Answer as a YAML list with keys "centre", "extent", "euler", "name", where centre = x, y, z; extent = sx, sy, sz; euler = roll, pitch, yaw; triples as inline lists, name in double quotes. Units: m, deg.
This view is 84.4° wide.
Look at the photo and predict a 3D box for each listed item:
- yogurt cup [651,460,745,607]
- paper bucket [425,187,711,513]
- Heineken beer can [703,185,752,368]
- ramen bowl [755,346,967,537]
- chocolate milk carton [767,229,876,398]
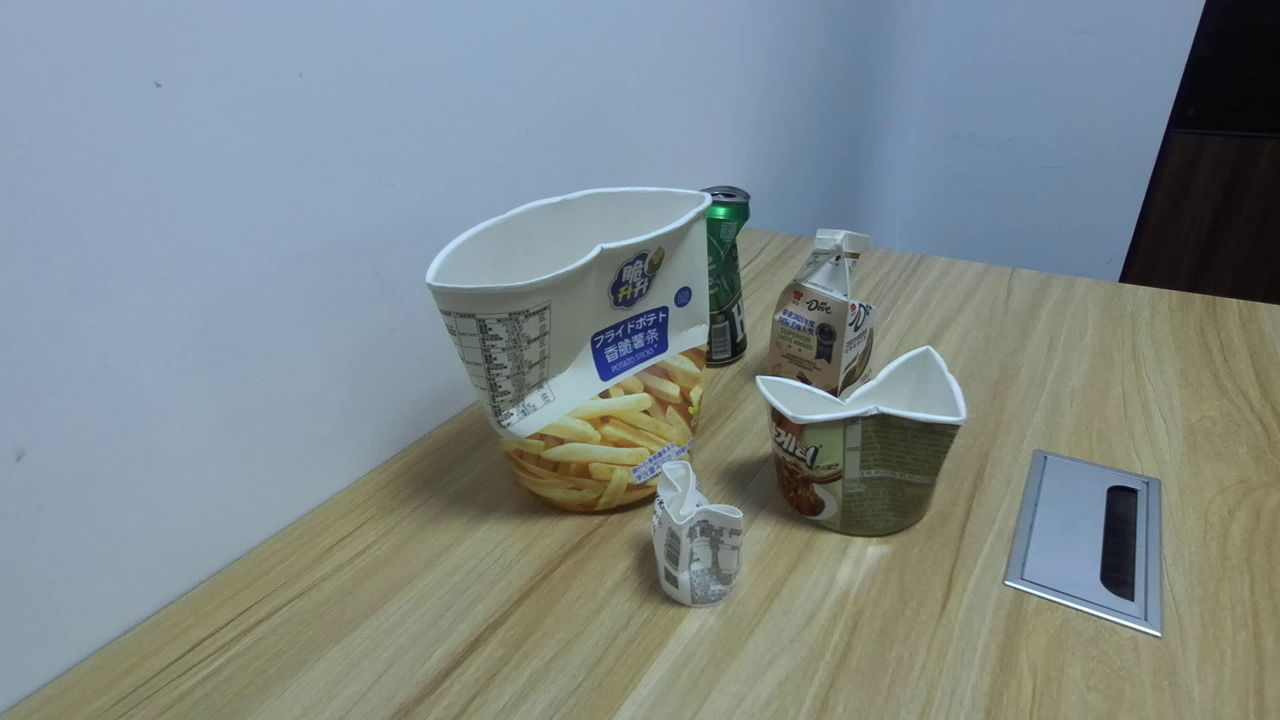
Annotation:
- centre: [0.034, 0.106, 0.431]
  extent: [0.055, 0.072, 0.055]
  euler: [-5, 31, 0]
  name: "yogurt cup"
- centre: [-0.030, -0.010, 0.521]
  extent: [0.147, 0.199, 0.218]
  euler: [5, 30, 14]
  name: "paper bucket"
- centre: [0.071, -0.076, 0.671]
  extent: [0.078, 0.164, 0.065]
  euler: [-16, 31, -26]
  name: "Heineken beer can"
- centre: [0.148, 0.052, 0.497]
  extent: [0.128, 0.093, 0.111]
  euler: [0, 30, 5]
  name: "ramen bowl"
- centre: [0.163, -0.045, 0.614]
  extent: [0.073, 0.156, 0.076]
  euler: [21, 36, 34]
  name: "chocolate milk carton"
